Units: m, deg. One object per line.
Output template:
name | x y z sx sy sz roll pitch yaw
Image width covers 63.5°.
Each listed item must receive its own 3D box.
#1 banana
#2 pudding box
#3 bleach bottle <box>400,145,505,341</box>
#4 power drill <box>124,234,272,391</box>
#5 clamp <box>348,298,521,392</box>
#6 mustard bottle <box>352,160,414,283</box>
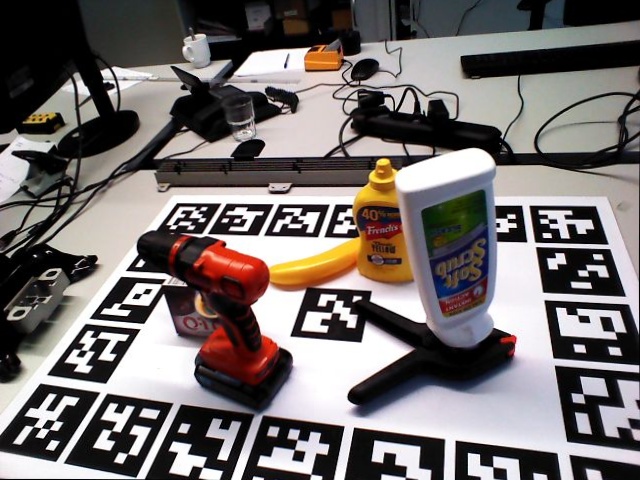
banana | 0.004 0.014 0.819 0.197 0.039 0.074 -23 21 -15
pudding box | -0.163 0.089 0.731 0.114 0.090 0.038 4 33 19
bleach bottle | 0.161 0.024 0.576 0.103 0.251 0.067 -16 32 6
power drill | -0.137 0.080 0.606 0.186 0.187 0.057 8 34 28
clamp | 0.139 0.115 0.637 0.203 0.037 0.164 -2 40 10
mustard bottle | 0.095 -0.027 0.740 0.097 0.192 0.058 12 42 26
